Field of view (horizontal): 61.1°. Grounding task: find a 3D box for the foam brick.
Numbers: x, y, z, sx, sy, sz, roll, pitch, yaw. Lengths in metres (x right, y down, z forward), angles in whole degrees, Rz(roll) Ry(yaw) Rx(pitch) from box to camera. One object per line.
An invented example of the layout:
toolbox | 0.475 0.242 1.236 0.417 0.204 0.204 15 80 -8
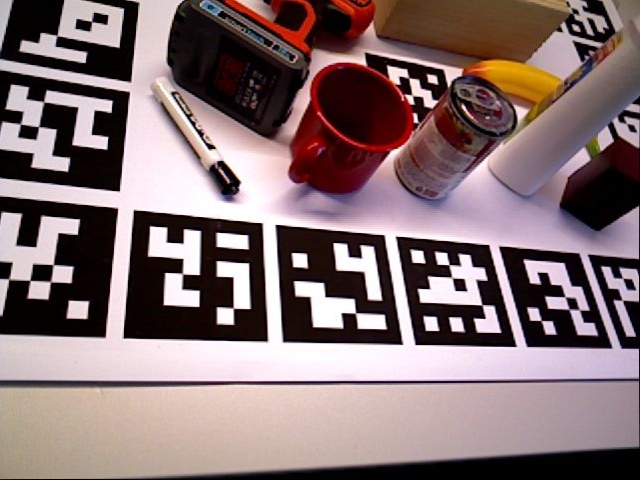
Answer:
foam brick | 0.306 -0.052 0.566 0.052 0.080 0.050 32 53 0

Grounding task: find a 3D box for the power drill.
power drill | -0.049 -0.210 0.525 0.184 0.059 0.183 31 54 -8

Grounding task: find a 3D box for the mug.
mug | 0.018 -0.086 0.461 0.093 0.083 0.114 42 58 2

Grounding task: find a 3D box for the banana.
banana | 0.243 -0.179 0.630 0.196 0.039 0.073 20 71 -14

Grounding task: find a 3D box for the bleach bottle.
bleach bottle | 0.259 -0.141 0.487 0.068 0.257 0.100 29 54 -4

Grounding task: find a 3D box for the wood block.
wood block | 0.166 -0.274 0.624 0.203 0.093 0.089 3 62 -21

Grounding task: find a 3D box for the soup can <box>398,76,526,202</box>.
soup can | 0.123 -0.090 0.488 0.067 0.104 0.067 12 54 -18

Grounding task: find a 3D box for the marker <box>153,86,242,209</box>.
marker | -0.101 -0.076 0.450 0.019 0.020 0.121 -28 77 -30
